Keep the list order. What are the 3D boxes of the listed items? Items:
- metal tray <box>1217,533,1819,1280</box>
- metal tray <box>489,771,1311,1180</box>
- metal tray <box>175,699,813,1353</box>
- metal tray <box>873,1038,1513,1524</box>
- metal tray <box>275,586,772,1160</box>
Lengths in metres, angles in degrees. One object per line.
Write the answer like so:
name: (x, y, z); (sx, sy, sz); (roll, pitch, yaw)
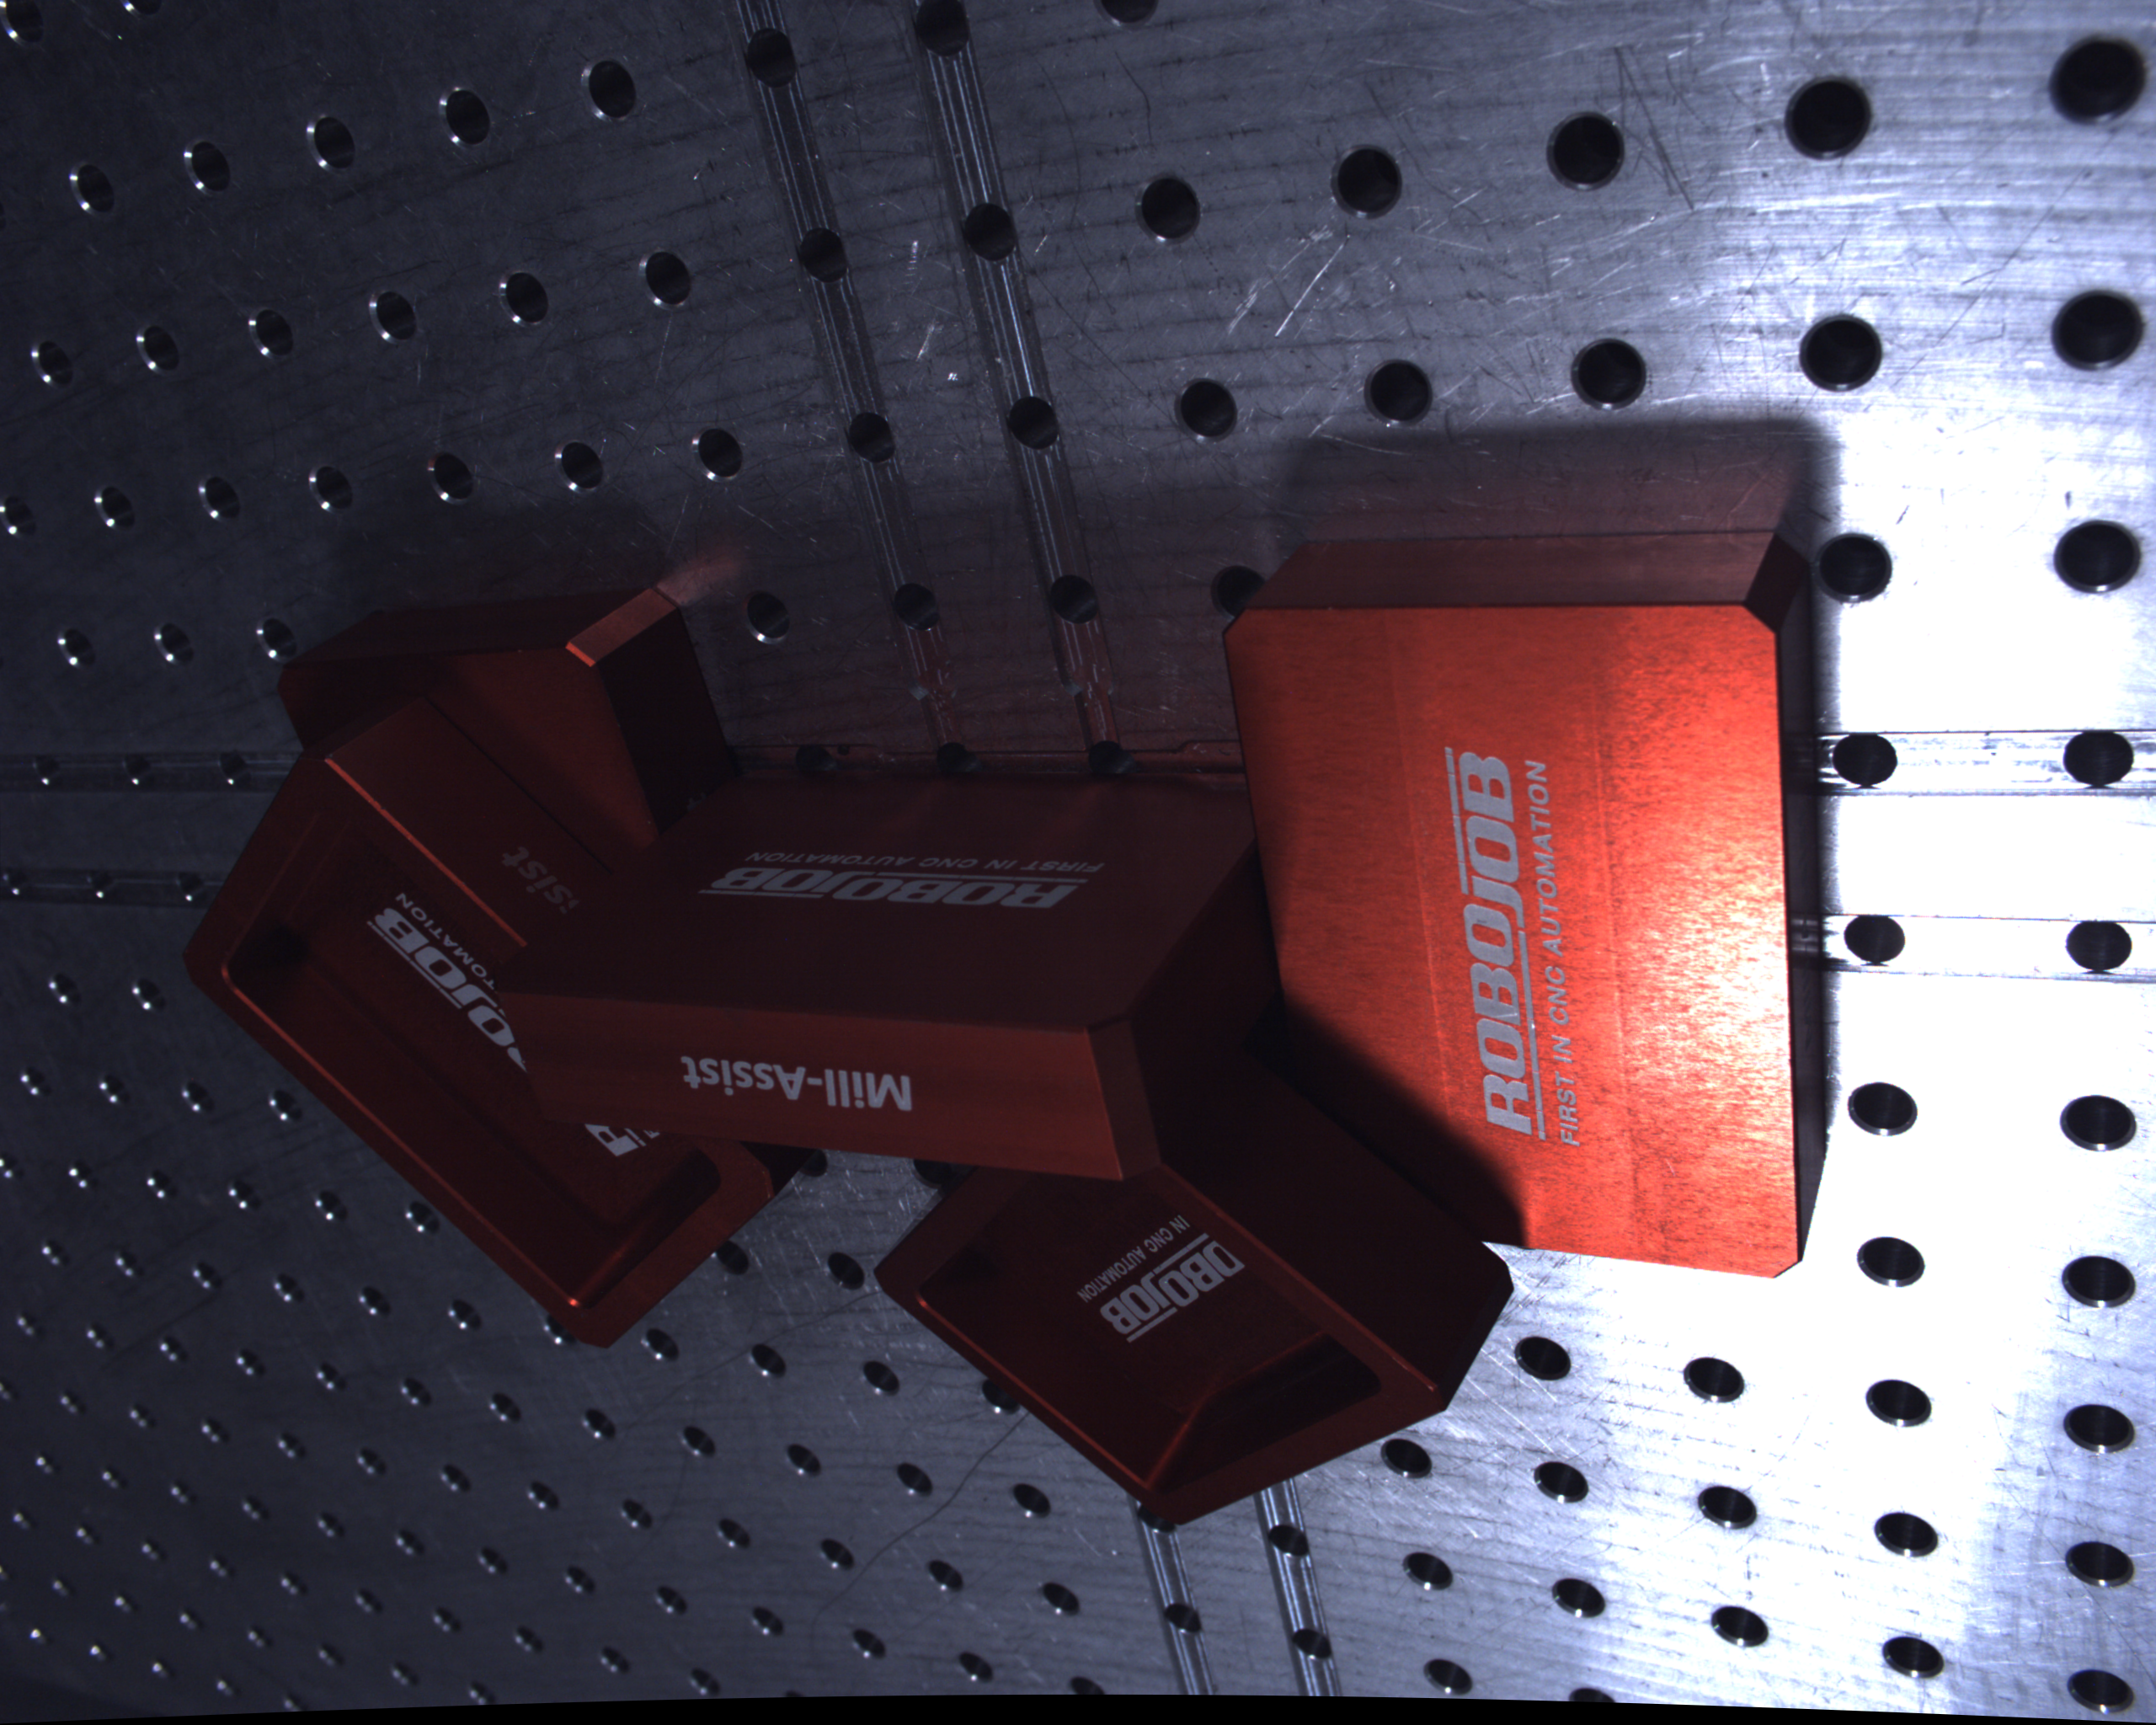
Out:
metal tray: (0.081, 0.009, 0.369); (0.090, 0.030, 0.129); (3, 120, 26)
metal tray: (-0.031, 0.016, 0.393); (0.130, 0.090, 0.030); (2, 119, 27)
metal tray: (-0.126, 0.038, 0.455); (0.130, 0.030, 0.090); (44, 128, -3)
metal tray: (0.017, 0.086, 0.427); (0.090, 0.030, 0.129); (39, 146, 0)
metal tray: (-0.115, 0.006, 0.470); (0.090, 0.030, 0.129); (-1, 119, 28)
